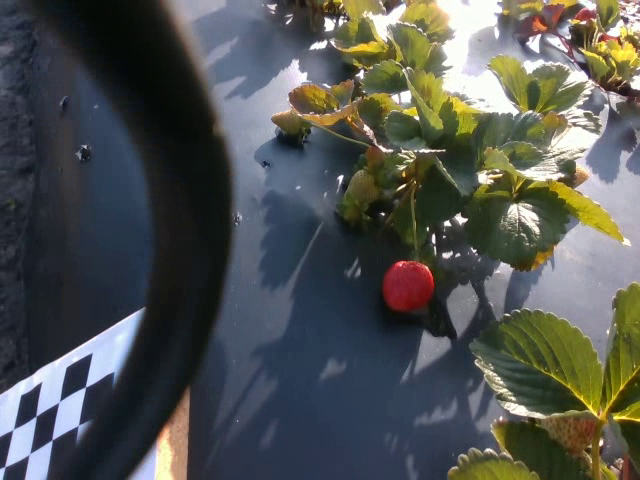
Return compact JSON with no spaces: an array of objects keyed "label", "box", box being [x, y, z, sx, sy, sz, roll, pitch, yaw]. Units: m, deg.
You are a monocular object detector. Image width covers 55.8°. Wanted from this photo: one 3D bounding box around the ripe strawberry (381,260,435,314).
[{"label":"ripe strawberry","box":[0.050,0.030,0.347,0.030,0.033,0.044,-5,28,43]}]
